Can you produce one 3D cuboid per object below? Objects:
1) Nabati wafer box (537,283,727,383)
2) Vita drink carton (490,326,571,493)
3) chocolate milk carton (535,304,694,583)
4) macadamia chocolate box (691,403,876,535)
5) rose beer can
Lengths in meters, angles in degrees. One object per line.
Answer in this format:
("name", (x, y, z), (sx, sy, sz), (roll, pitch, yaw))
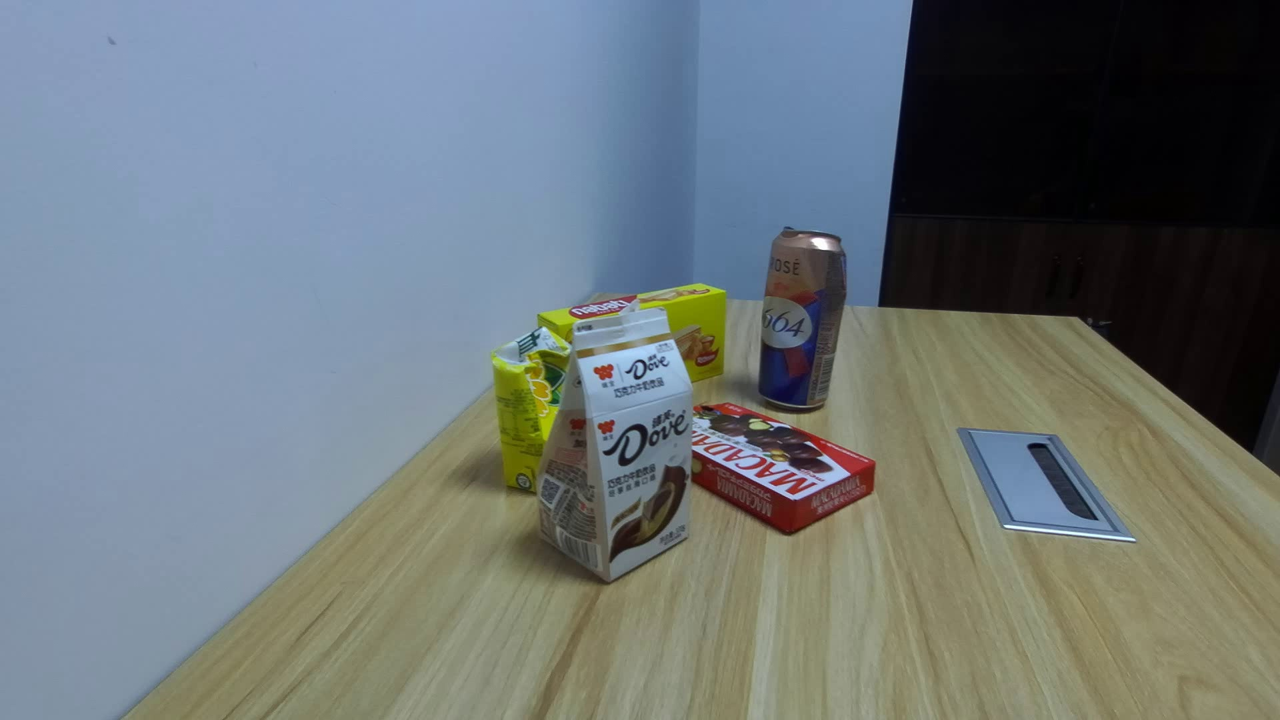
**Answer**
("Nabati wafer box", (0.000, -0.014, 0.700), (0.204, 0.093, 0.042), (-14, 23, -34))
("Vita drink carton", (-0.070, 0.038, 0.535), (0.046, 0.110, 0.071), (8, 24, 29))
("chocolate milk carton", (-0.019, 0.045, 0.441), (0.085, 0.155, 0.072), (-19, 28, -40))
("macadamia chocolate box", (0.083, 0.071, 0.561), (0.103, 0.027, 0.186), (-13, 24, -36))
("rose beer can", (0.149, -0.038, 0.659), (0.069, 0.168, 0.070), (5, 16, 7))
